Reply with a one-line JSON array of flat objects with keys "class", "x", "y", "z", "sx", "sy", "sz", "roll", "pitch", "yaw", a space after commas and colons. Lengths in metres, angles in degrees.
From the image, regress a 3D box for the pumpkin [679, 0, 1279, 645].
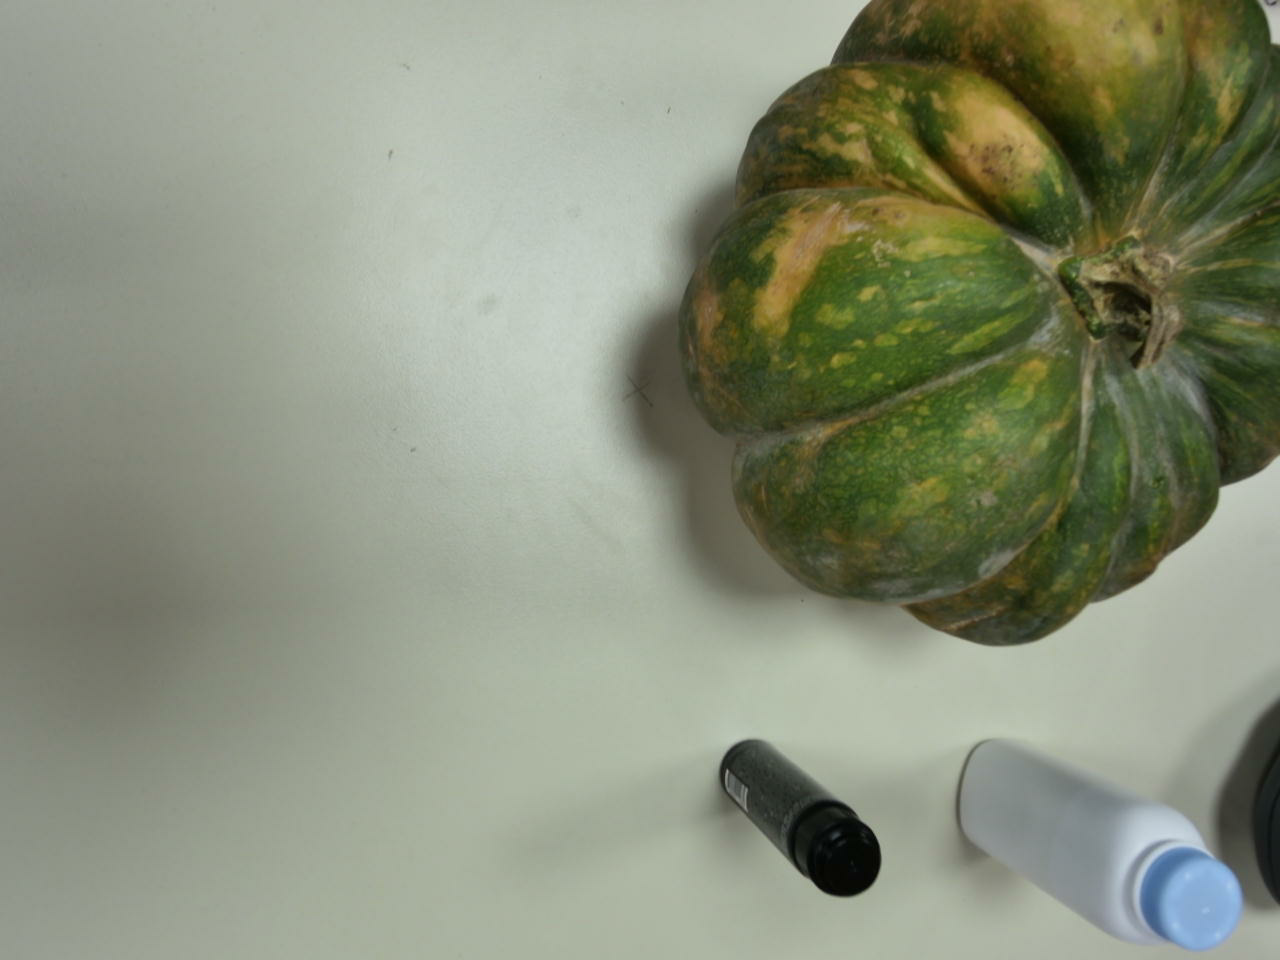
[{"class": "pumpkin", "x": 0.145, "y": -0.066, "z": 0.378, "sx": 0.237, "sy": 0.173, "sz": 0.270, "roll": 38, "pitch": 84, "yaw": -10}]
